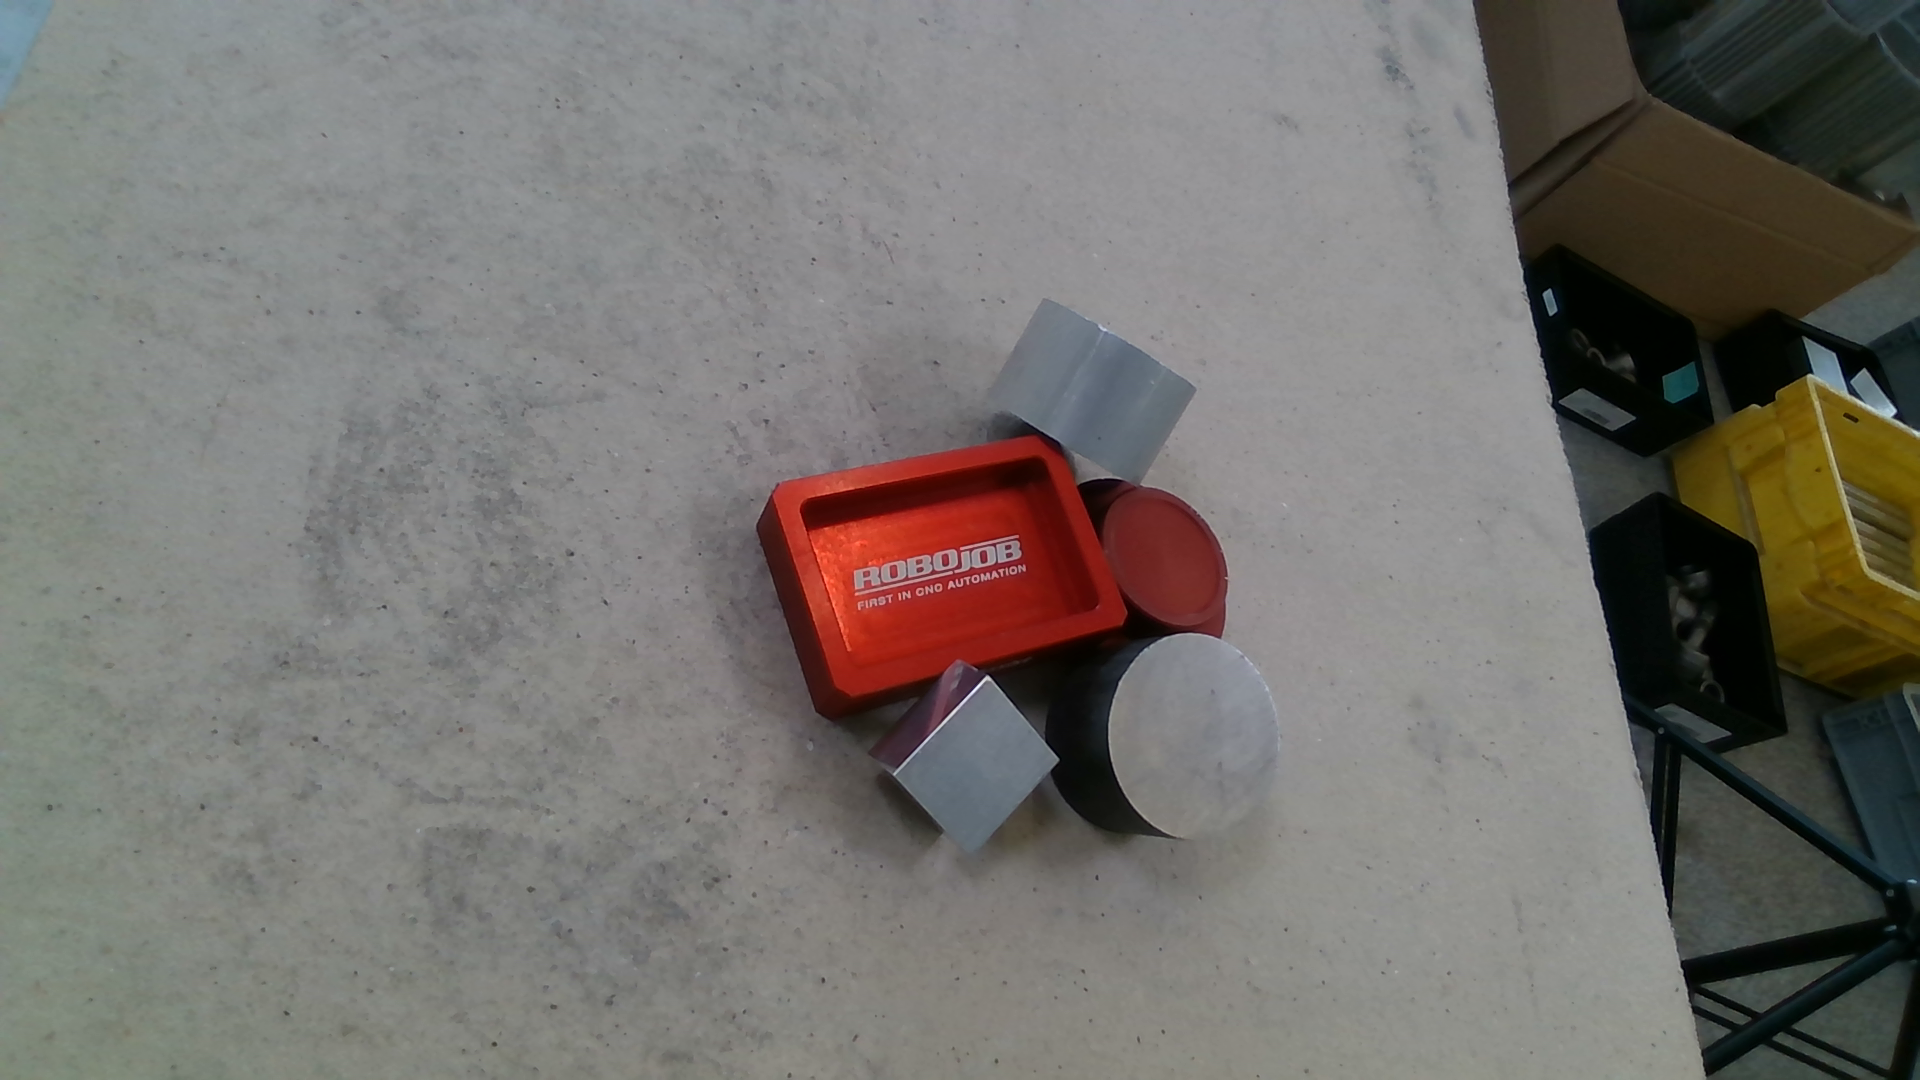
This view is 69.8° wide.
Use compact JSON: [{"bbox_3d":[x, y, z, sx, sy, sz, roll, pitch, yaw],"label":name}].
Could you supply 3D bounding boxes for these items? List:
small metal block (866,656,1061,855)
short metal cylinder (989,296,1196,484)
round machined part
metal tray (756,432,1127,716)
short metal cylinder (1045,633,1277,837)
[{"bbox_3d":[0.002,0.081,0.521,0.050,0.025,0.050,-45,118,-13],"label":"small metal block"},{"bbox_3d":[0.059,-0.067,0.614,0.080,0.080,0.050,29,97,-16],"label":"short metal cylinder"},{"bbox_3d":[0.080,0.015,0.618,0.098,0.042,0.098,14,59,-25],"label":"round machined part"},{"bbox_3d":[-0.007,0.011,0.559,0.130,0.030,0.090,-12,72,-26],"label":"metal tray"},{"bbox_3d":[0.082,0.080,0.565,0.080,0.050,0.080,4,81,-25],"label":"short metal cylinder"}]
